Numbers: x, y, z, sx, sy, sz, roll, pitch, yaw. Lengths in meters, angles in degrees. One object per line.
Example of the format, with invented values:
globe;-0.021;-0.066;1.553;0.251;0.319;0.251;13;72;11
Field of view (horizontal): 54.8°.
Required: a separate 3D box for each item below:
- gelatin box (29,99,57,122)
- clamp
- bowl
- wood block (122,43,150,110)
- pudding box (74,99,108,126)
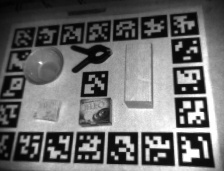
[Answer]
gelatin box;-0.252;0.091;0.790;0.089;0.030;0.073;6;74;13
clamp;-0.110;-0.114;0.837;0.165;0.037;0.121;-12;69;5
bowl;-0.271;-0.072;0.844;0.161;0.055;0.161;-3;74;10
wood block;0.082;-0.030;0.732;0.089;0.092;0.206;1;72;11
pudding box;-0.071;0.095;0.749;0.113;0.039;0.090;-3;75;13
